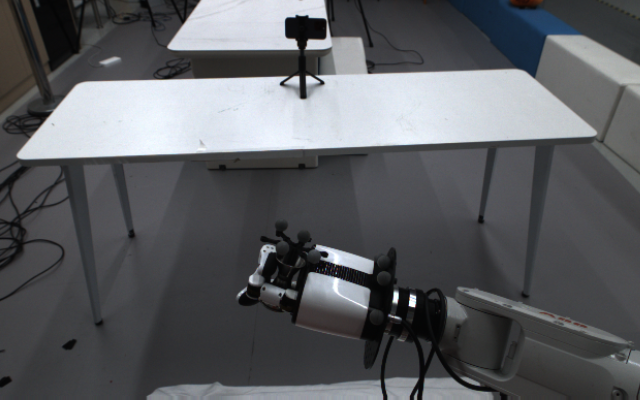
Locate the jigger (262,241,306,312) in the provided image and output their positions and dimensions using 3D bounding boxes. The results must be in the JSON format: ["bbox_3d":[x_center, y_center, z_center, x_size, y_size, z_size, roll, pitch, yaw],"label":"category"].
[{"bbox_3d":[-0.046,0.106,0.631,0.043,0.071,0.043,18,17,-6],"label":"jigger"}]
